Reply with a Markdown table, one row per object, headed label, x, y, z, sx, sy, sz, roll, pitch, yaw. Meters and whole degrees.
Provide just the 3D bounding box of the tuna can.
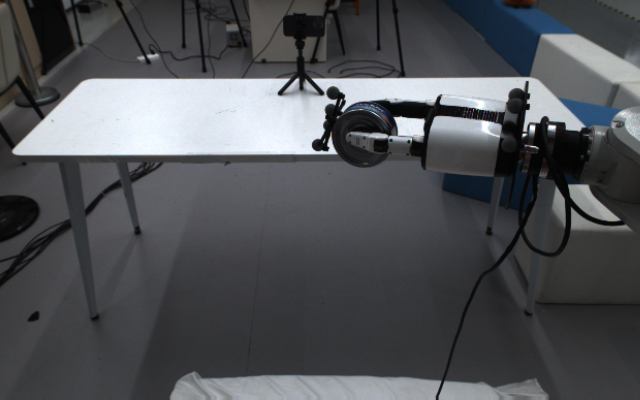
| label | x | y | z | sx | sy | sz | roll | pitch | yaw |
| --- | --- | --- | --- | --- | --- | --- | --- | --- | --- |
| tuna can | 0.062 | -0.089 | 0.660 | 0.085 | 0.085 | 0.034 | 12 | 30 | 14 |
